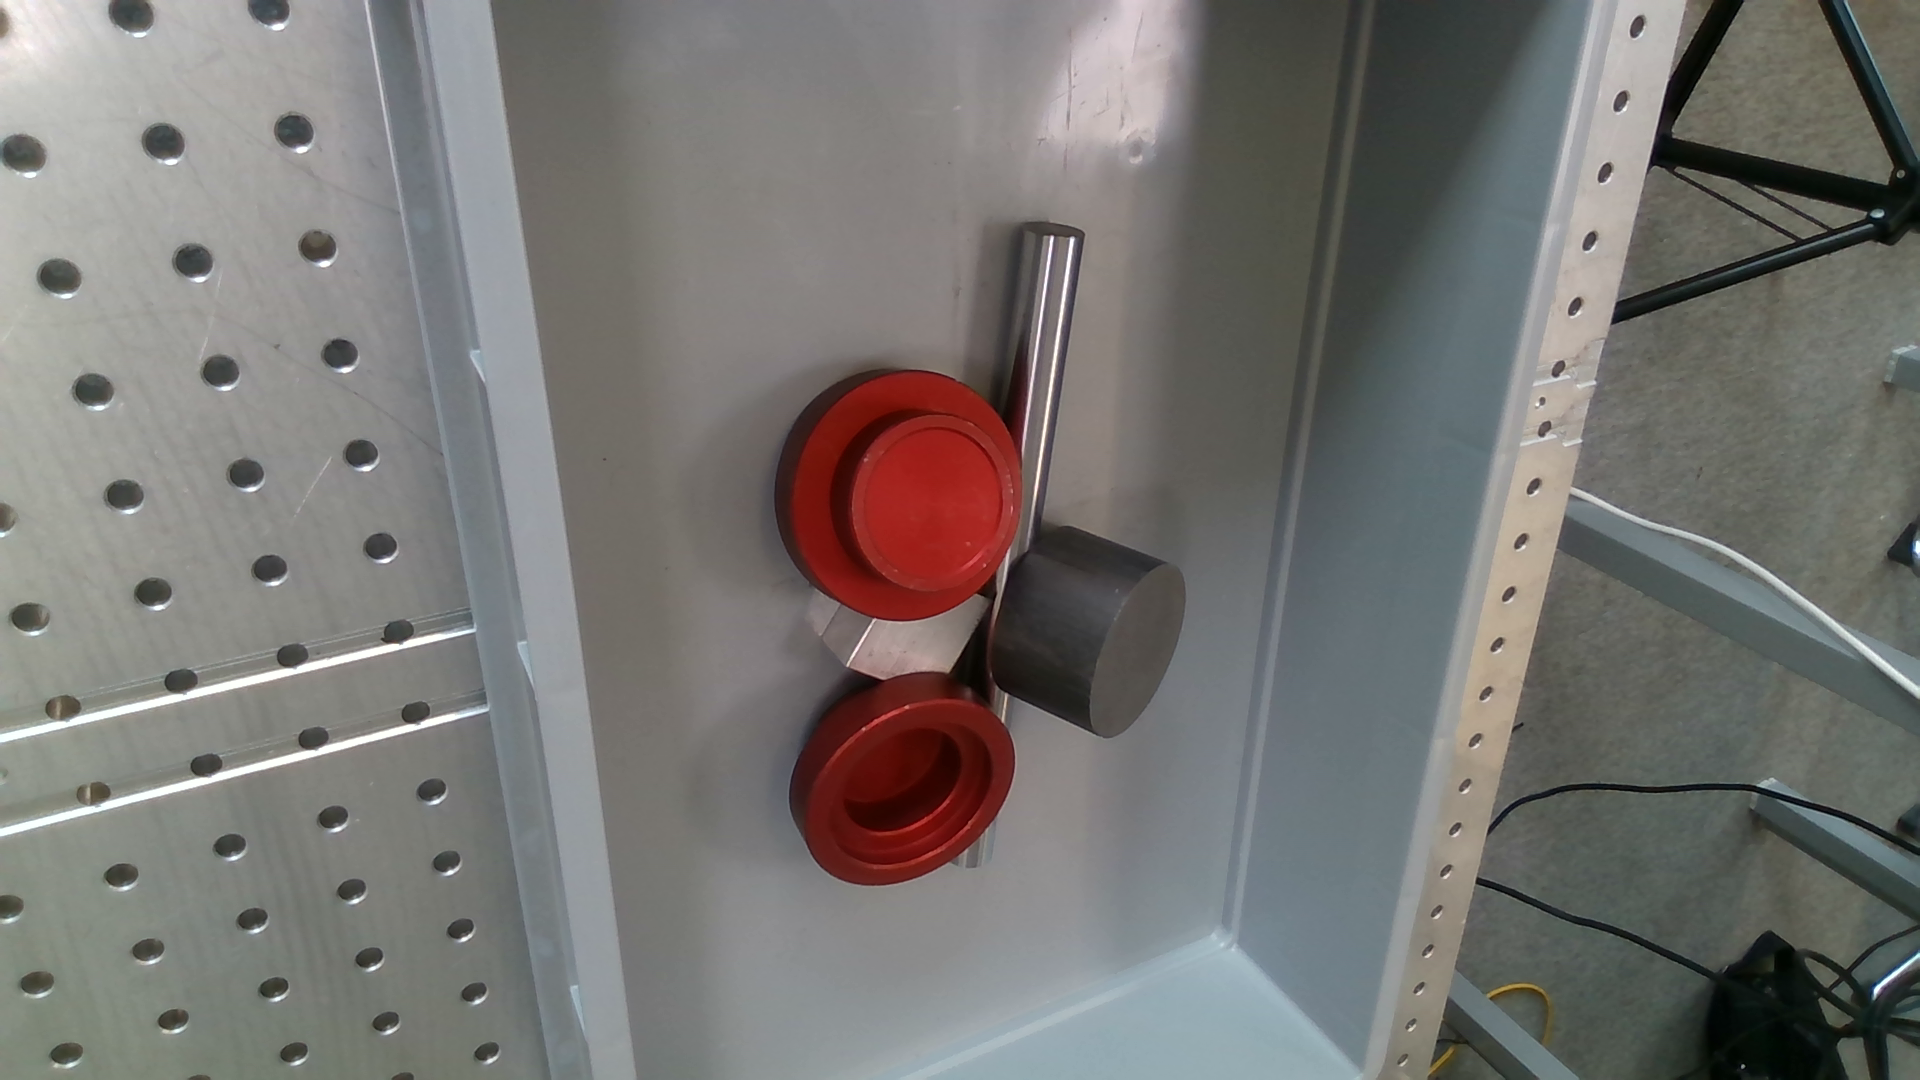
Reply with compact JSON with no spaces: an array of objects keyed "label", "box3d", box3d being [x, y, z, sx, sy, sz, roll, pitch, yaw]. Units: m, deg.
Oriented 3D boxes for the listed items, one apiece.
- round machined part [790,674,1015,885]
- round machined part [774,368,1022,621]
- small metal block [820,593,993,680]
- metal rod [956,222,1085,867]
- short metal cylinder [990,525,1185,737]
[{"label":"round machined part","box3d":[-0.029,0.099,0.602,0.098,0.042,0.098,-14,124,-22]},{"label":"round machined part","box3d":[-0.019,-0.017,0.531,0.098,0.042,0.098,-4,99,-26]},{"label":"small metal block","box3d":[-0.022,0.034,0.584,0.050,0.025,0.050,26,100,-38]},{"label":"metal rod","box3d":[0.020,0.014,0.600,0.025,0.025,0.301,-7,119,-28]},{"label":"short metal cylinder","box3d":[0.057,0.039,0.601,0.080,0.050,0.080,-37,139,-42]}]
